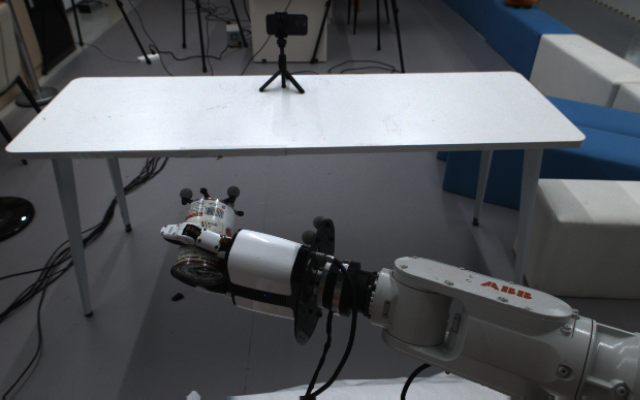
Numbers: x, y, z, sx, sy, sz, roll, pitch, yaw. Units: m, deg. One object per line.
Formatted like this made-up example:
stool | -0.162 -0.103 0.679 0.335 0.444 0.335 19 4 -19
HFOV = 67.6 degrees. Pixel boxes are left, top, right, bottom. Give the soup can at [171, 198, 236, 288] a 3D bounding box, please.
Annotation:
soup can | -0.153 0.057 0.649 0.067 0.067 0.101 3 56 1
